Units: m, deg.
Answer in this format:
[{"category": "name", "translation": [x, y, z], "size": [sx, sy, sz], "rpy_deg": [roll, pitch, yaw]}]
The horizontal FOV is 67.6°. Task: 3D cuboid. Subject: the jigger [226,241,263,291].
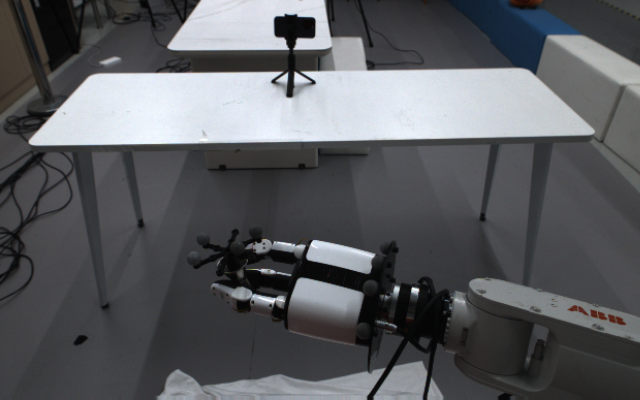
[{"category": "jigger", "translation": [-0.102, 0.105, 0.625], "size": [0.043, 0.071, 0.043], "rpy_deg": [-10, 32, 6]}]
